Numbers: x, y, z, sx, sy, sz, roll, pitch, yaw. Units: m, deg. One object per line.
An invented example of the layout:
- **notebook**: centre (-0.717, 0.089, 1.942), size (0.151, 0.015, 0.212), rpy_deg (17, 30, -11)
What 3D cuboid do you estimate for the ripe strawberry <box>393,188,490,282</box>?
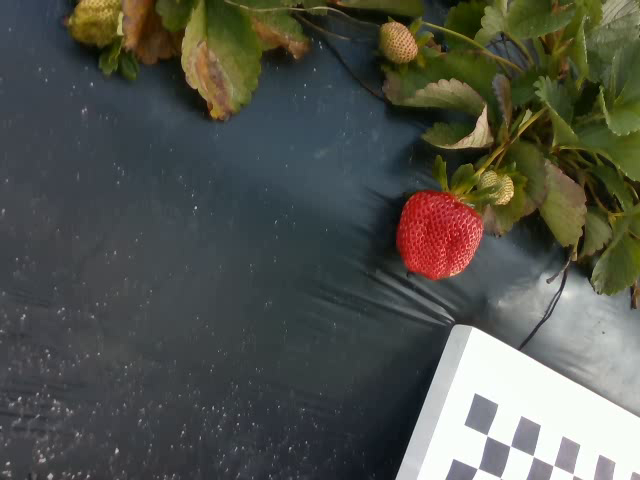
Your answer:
- **ripe strawberry**: centre (0.083, -0.003, 0.393), size (0.067, 0.075, 0.039), rpy_deg (31, -16, -17)
